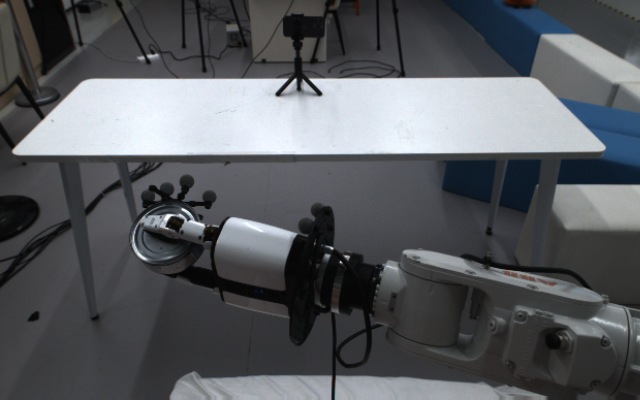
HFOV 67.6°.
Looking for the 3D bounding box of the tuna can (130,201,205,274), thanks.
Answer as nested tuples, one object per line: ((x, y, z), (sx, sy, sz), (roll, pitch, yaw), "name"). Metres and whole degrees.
((-0.178, 0.047, 0.586), (0.085, 0.034, 0.085), (-2, 58, 2), "tuna can")
